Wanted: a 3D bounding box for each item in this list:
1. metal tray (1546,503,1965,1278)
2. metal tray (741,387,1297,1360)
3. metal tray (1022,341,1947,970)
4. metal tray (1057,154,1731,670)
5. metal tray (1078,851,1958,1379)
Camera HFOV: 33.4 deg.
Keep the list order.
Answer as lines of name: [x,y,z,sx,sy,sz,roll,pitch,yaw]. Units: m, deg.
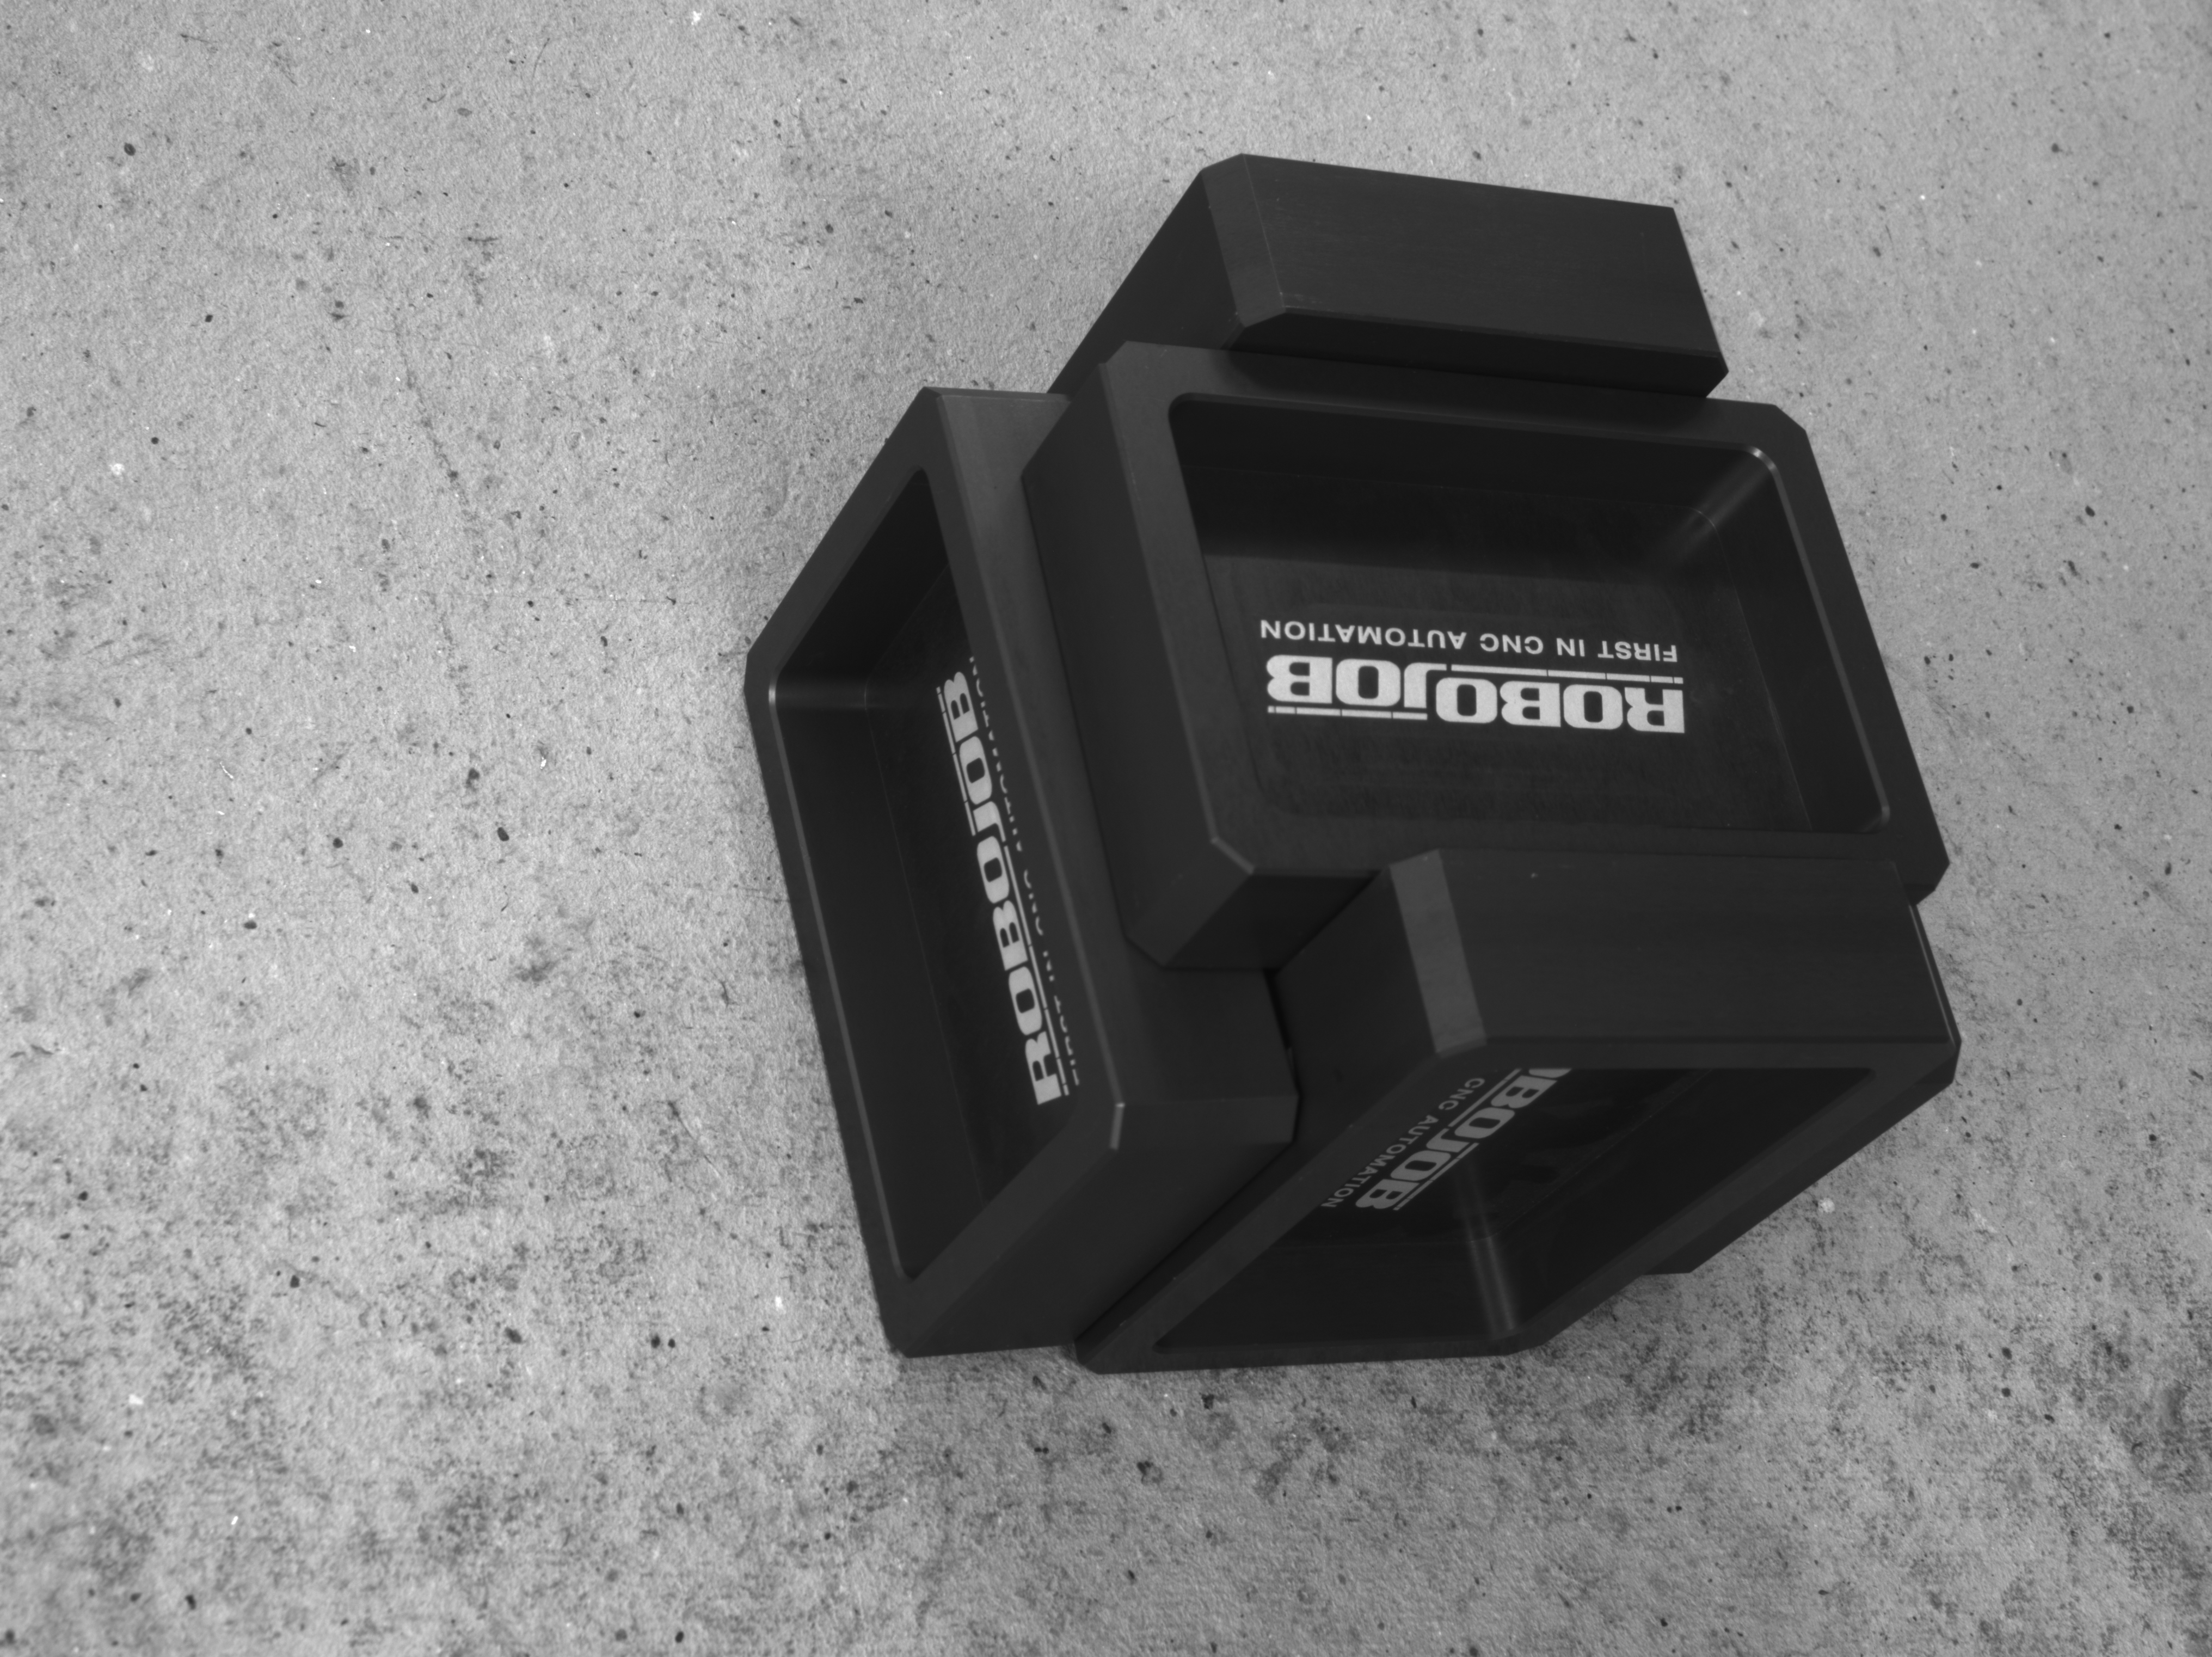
metal tray: [0.095,0.003,0.647,0.030,0.090,0.130,1,60,-27]
metal tray: [-0.018,0.008,0.584,0.030,0.090,0.130,0,62,-29]
metal tray: [0.059,-0.025,0.567,0.130,0.030,0.090,2,61,-27]
metal tray: [0.033,-0.058,0.625,0.090,0.130,0.030,2,60,-27]
metal tray: [0.058,0.047,0.574,0.090,0.130,0.030,1,61,-27]
